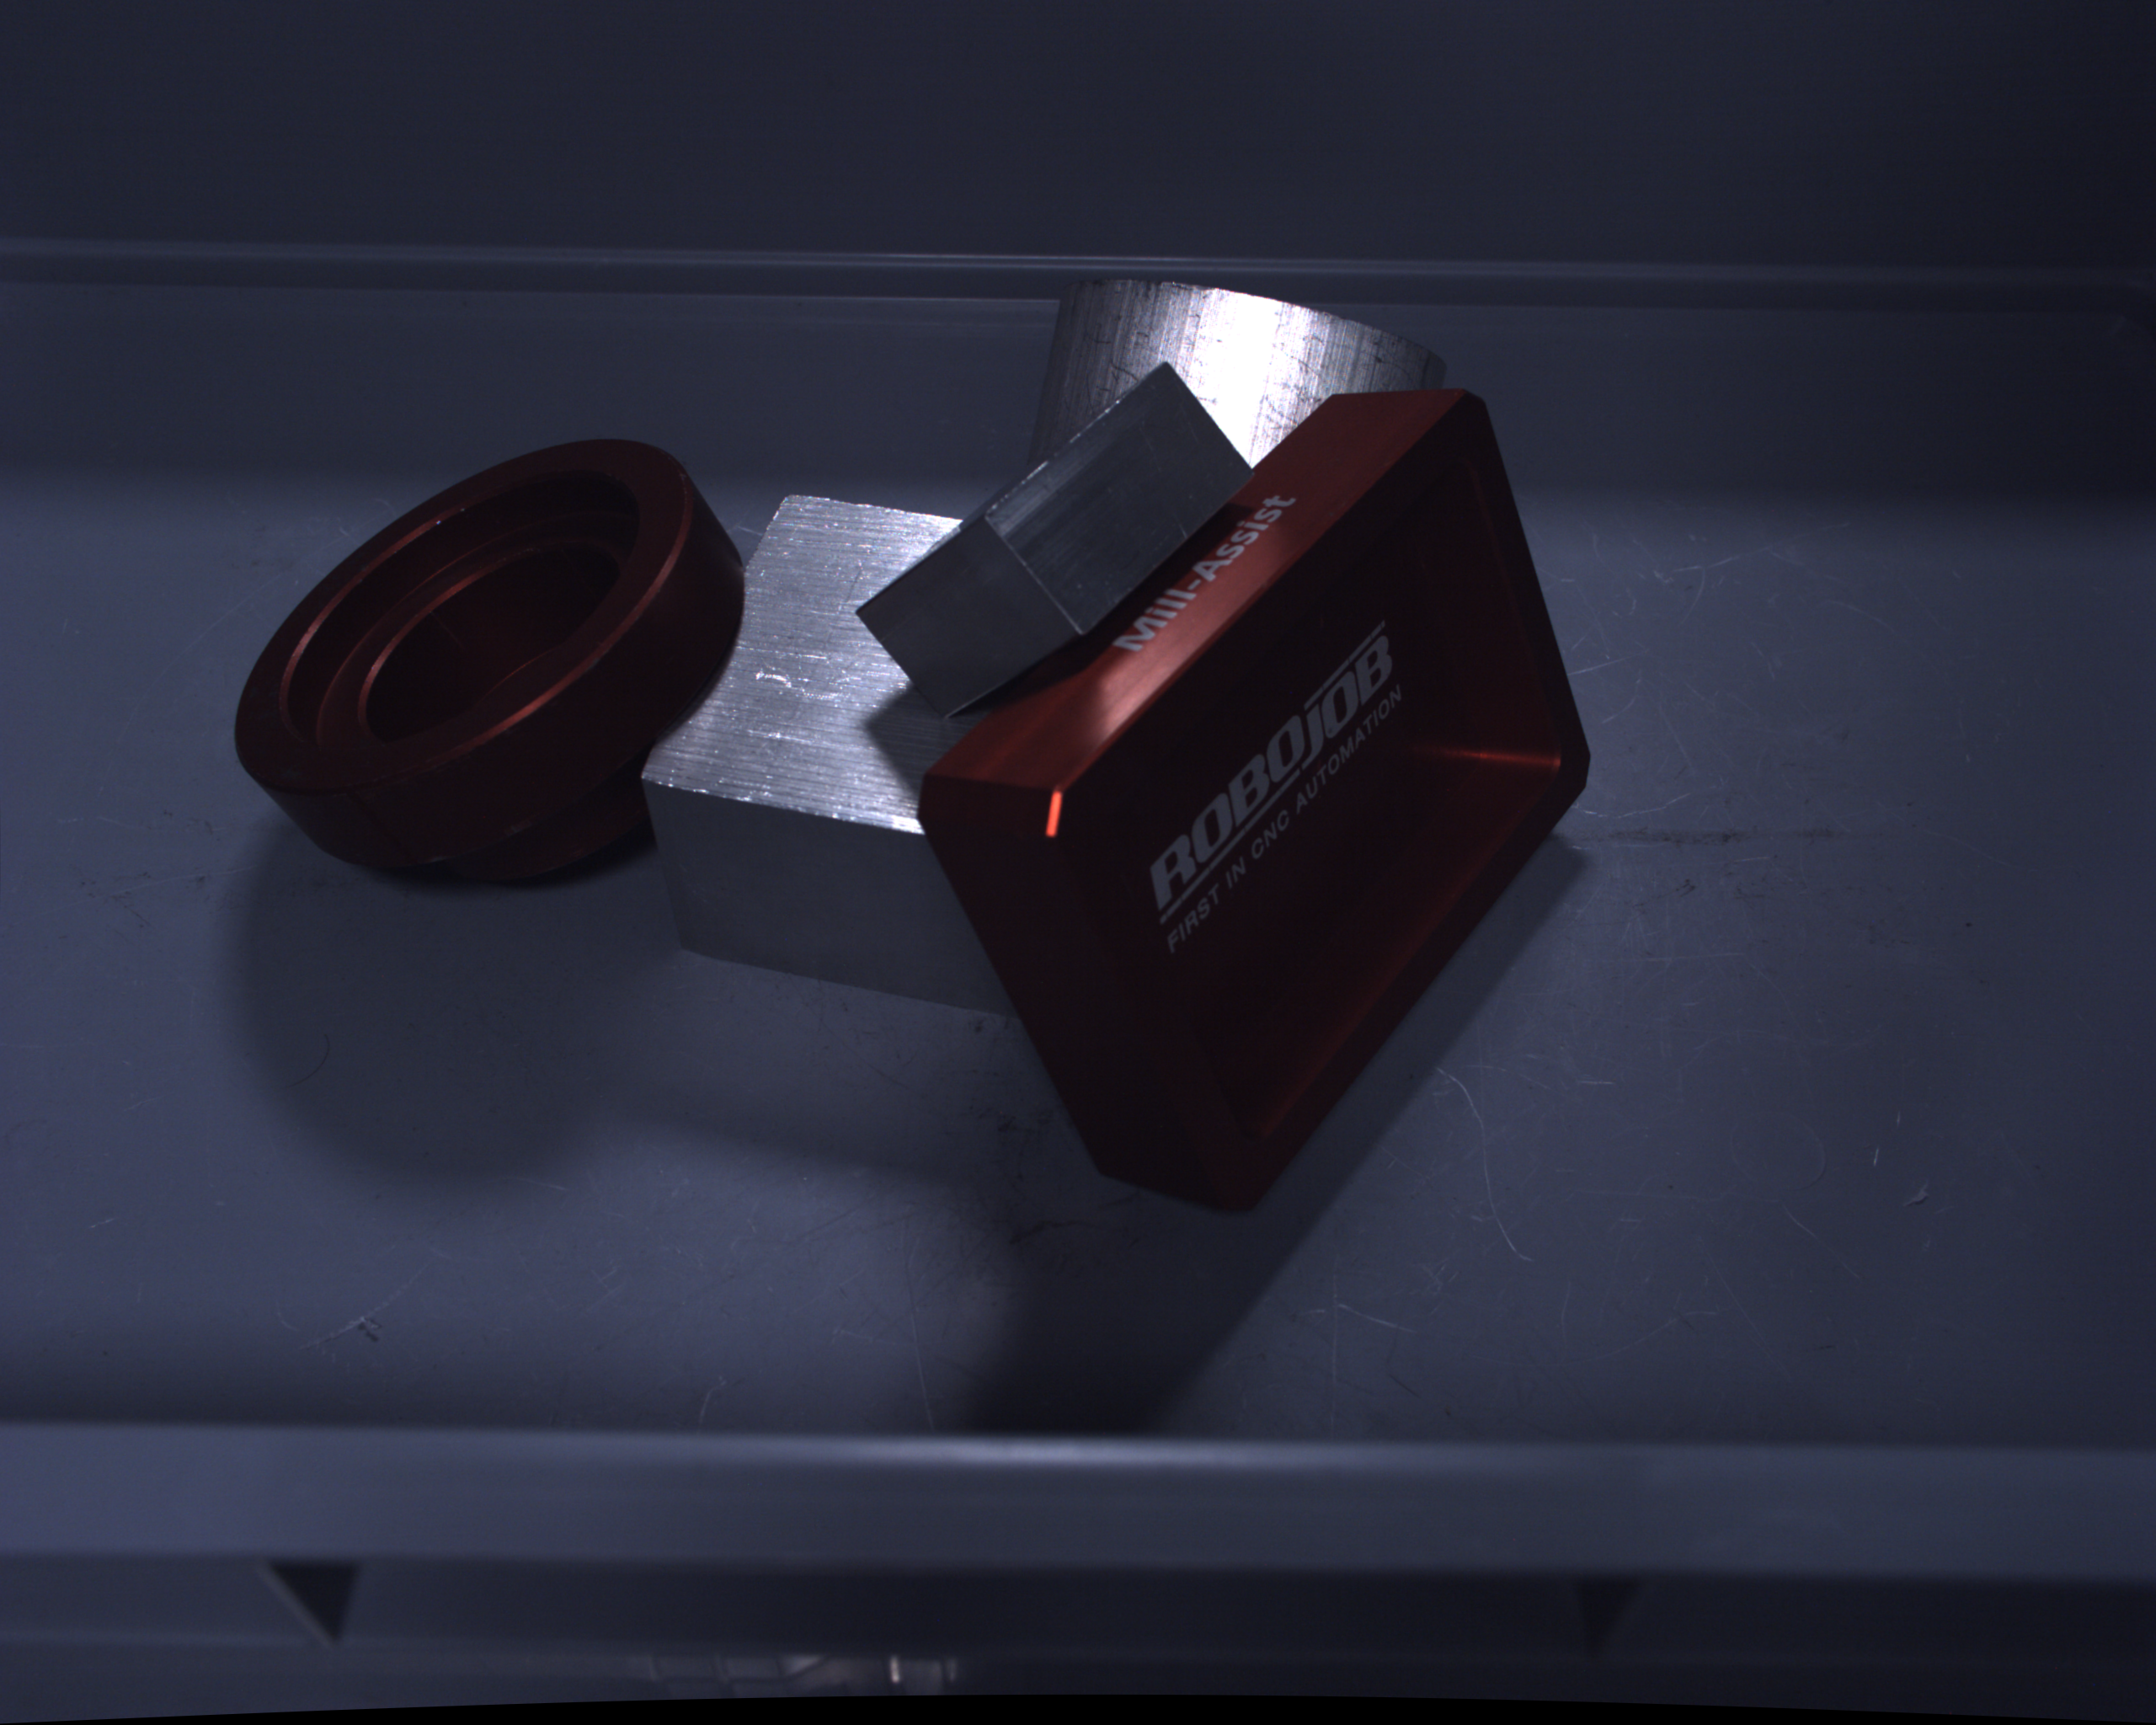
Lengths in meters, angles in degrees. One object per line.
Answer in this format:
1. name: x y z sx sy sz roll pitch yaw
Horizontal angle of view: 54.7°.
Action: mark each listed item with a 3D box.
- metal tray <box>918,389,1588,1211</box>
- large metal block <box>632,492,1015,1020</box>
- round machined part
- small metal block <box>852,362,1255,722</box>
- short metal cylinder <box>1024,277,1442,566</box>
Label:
1. metal tray: 0.038 -0.014 0.372 0.030 0.090 0.131 8 44 43
2. large metal block: -0.029 -0.021 0.404 0.080 0.050 0.080 11 51 9
3. round machined part: -0.108 -0.035 0.405 0.098 0.042 0.098 -16 42 15
4. small metal block: -0.005 -0.055 0.366 0.025 0.050 0.050 51 59 -10
5. short metal cylinder: 0.031 -0.085 0.431 0.080 0.080 0.050 13 95 10
